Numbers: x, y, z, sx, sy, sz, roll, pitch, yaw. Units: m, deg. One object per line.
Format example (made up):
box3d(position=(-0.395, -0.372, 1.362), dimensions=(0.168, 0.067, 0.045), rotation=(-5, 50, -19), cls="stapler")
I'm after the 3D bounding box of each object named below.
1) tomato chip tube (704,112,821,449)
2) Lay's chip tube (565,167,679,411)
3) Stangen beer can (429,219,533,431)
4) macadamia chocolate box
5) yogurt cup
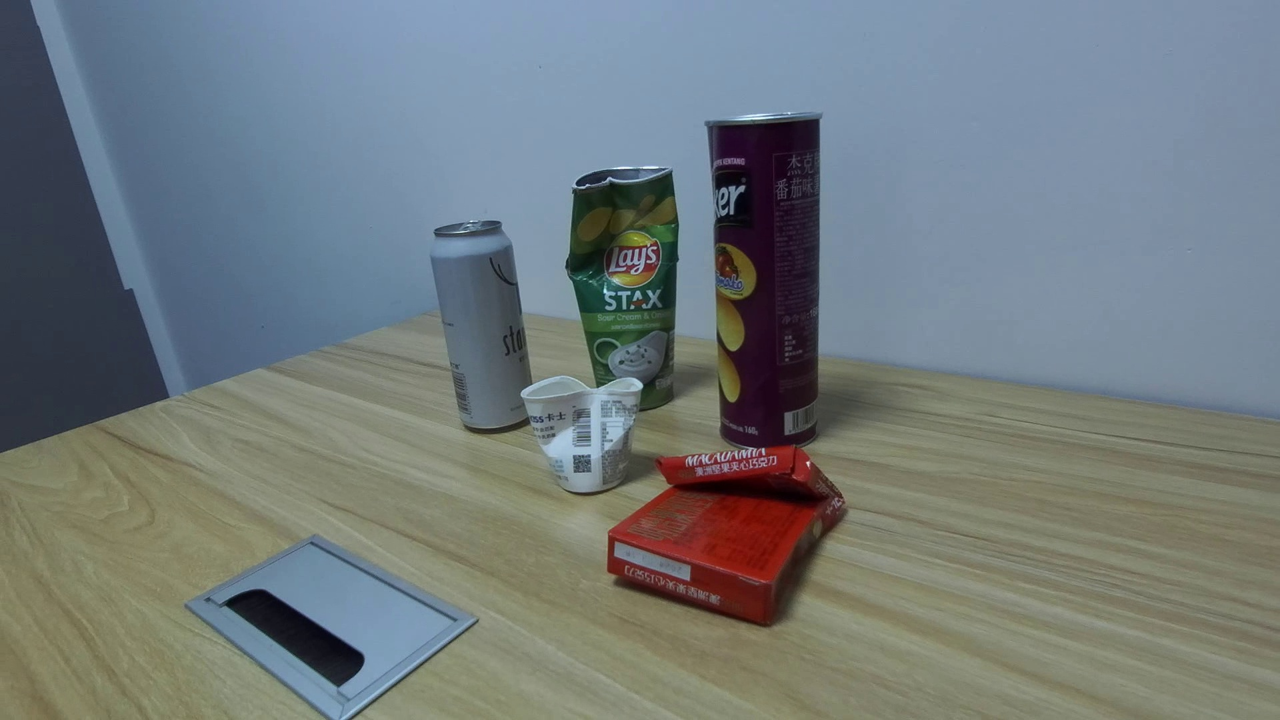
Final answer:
box3d(position=(0.092, -0.054, 0.512), dimensions=(0.076, 0.234, 0.080), rotation=(-3, 19, 5), cls="tomato chip tube")
box3d(position=(-0.011, -0.059, 0.606), dimensions=(0.077, 0.201, 0.069), rotation=(-21, 25, -32), cls="Lay's chip tube")
box3d(position=(-0.131, -0.027, 0.597), dimensions=(0.067, 0.171, 0.067), rotation=(-5, 18, 2), cls="Stangen beer can")
box3d(position=(0.046, 0.093, 0.415), dimensions=(0.111, 0.056, 0.127), rotation=(-10, 16, 35), cls="macadamia chocolate box")
box3d(position=(-0.037, 0.050, 0.496), dimensions=(0.075, 0.071, 0.053), rotation=(-14, 23, -18), cls="yogurt cup")
